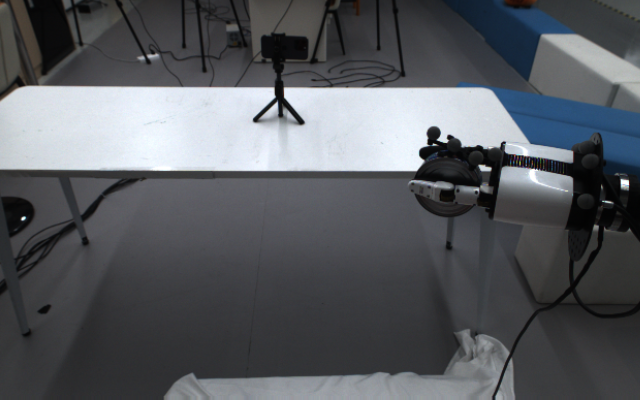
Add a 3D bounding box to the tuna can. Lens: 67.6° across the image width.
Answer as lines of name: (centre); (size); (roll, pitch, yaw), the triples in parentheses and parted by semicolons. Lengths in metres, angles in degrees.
tuna can: (0.171, -0.025, 0.642); (0.085, 0.085, 0.034); (15, 28, 18)
